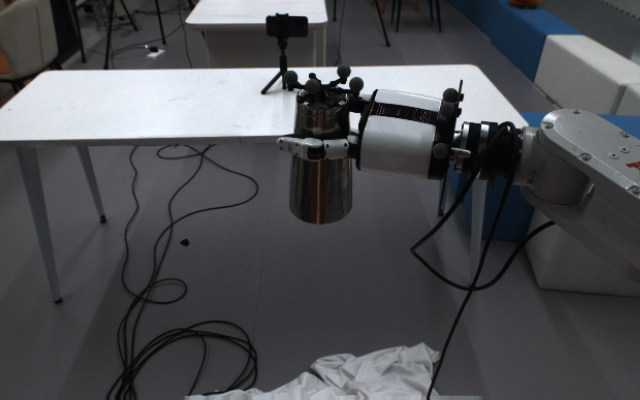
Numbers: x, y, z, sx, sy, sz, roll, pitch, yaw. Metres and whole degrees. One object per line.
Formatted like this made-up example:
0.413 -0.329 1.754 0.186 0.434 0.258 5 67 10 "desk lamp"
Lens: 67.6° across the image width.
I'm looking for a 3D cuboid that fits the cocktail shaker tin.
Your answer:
0.006 -0.065 0.648 0.093 0.170 0.093 1 39 -1 "cocktail shaker tin"
